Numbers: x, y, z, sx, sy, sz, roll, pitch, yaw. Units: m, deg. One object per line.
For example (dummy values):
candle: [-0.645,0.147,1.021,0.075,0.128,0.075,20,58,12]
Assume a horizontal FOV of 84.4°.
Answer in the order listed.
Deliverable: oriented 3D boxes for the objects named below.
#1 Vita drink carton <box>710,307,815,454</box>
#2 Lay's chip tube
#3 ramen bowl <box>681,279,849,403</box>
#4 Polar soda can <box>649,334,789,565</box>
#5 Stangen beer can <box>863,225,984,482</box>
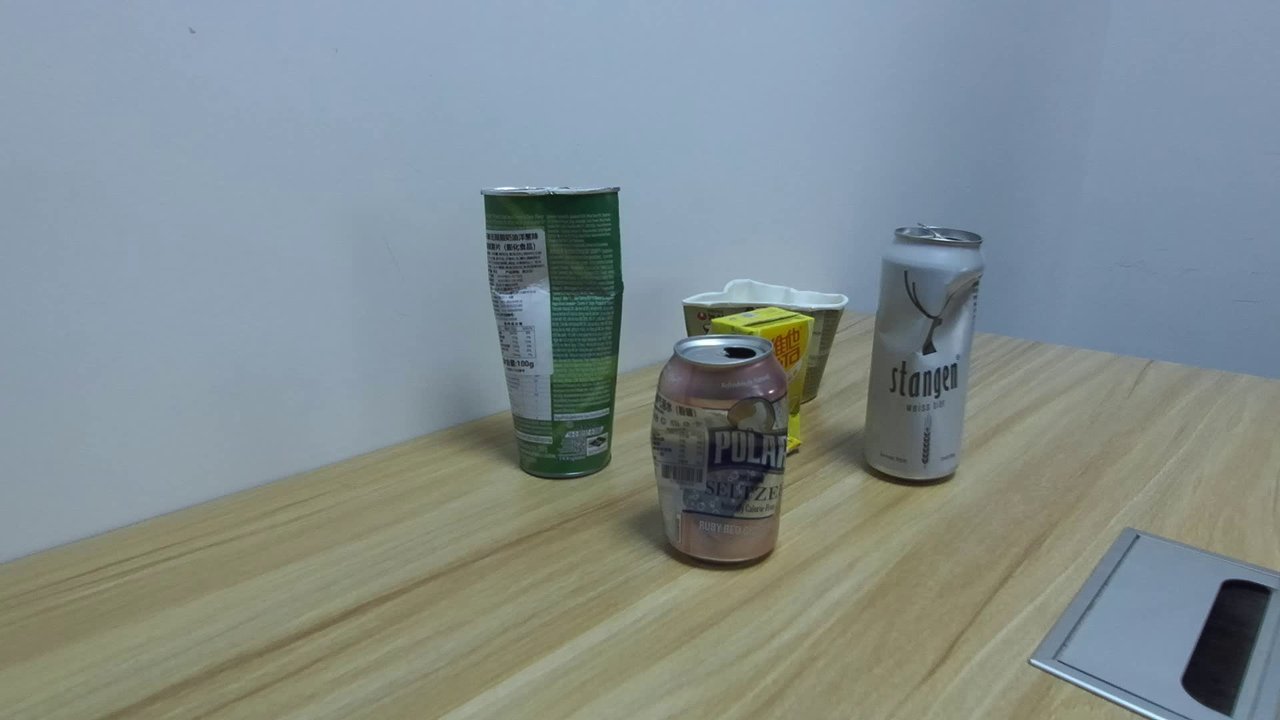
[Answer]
Vita drink carton: [0.089,0.021,0.512,0.077,0.109,0.043,-15,24,-36]
Lay's chip tube: [-0.057,-0.019,0.499,0.075,0.199,0.068,-13,20,-35]
ramen bowl: [0.121,-0.017,0.652,0.133,0.097,0.114,8,20,29]
Polar soda can: [0.048,0.050,0.394,0.067,0.122,0.074,-18,23,-35]
Stangen beer can: [0.194,-0.003,0.479,0.070,0.173,0.069,2,18,6]
